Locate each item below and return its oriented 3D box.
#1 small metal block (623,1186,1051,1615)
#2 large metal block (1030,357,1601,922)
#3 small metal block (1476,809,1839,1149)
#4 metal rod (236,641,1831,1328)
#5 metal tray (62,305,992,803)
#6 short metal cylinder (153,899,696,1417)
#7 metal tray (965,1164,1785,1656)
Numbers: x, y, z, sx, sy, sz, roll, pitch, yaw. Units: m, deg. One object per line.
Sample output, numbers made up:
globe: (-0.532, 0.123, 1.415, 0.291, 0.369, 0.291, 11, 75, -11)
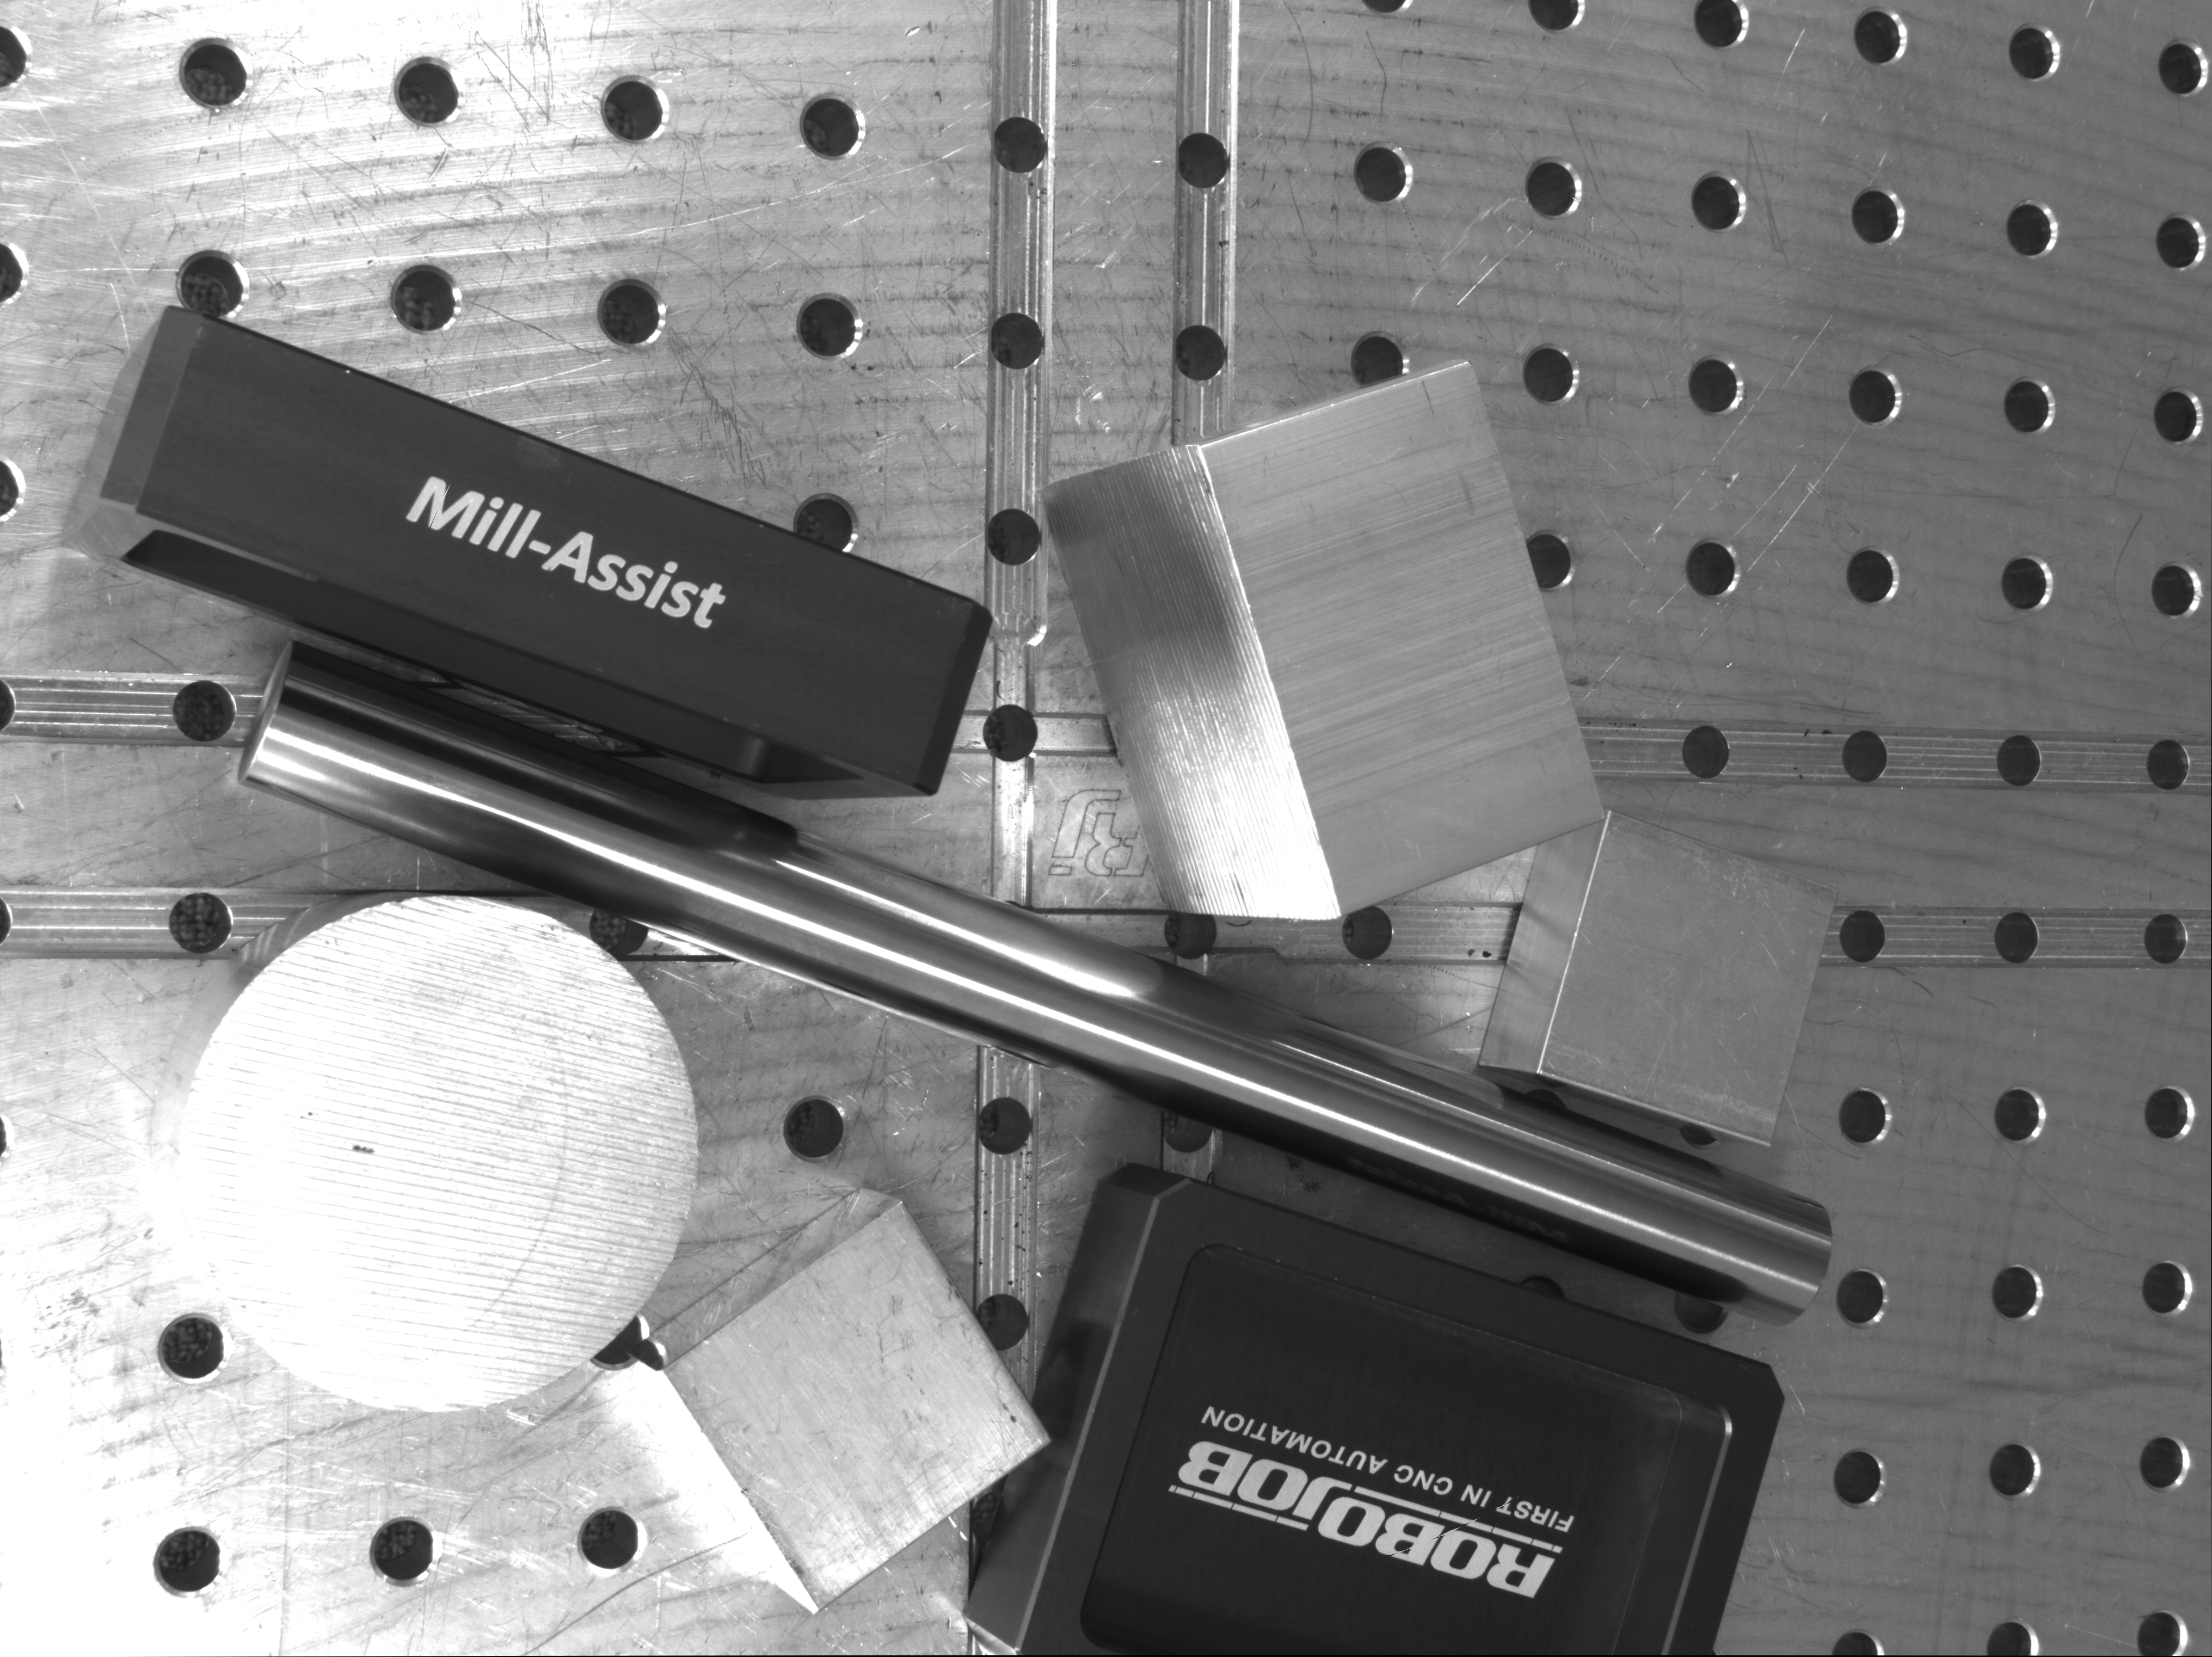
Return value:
small metal block: (-0.046, 0.097, 0.629, 0.050, 0.025, 0.050, -34, 101, -17)
large metal block: (0.034, -0.031, 0.630, 0.050, 0.080, 0.080, -19, 96, -19)
small metal block: (0.103, 0.028, 0.682, 0.050, 0.025, 0.050, 18, 84, -19)
metal rod: (-0.004, 0.032, 0.644, 0.301, 0.025, 0.025, 21, 83, -19)
metal tray: (-0.093, -0.039, 0.576, 0.130, 0.090, 0.030, 20, 83, -19)
short metal cylinder: (-0.111, 0.051, 0.591, 0.080, 0.050, 0.080, 0, 90, -20)
metal tray: (0.050, 0.122, 0.660, 0.130, 0.030, 0.090, 20, 84, -19)
